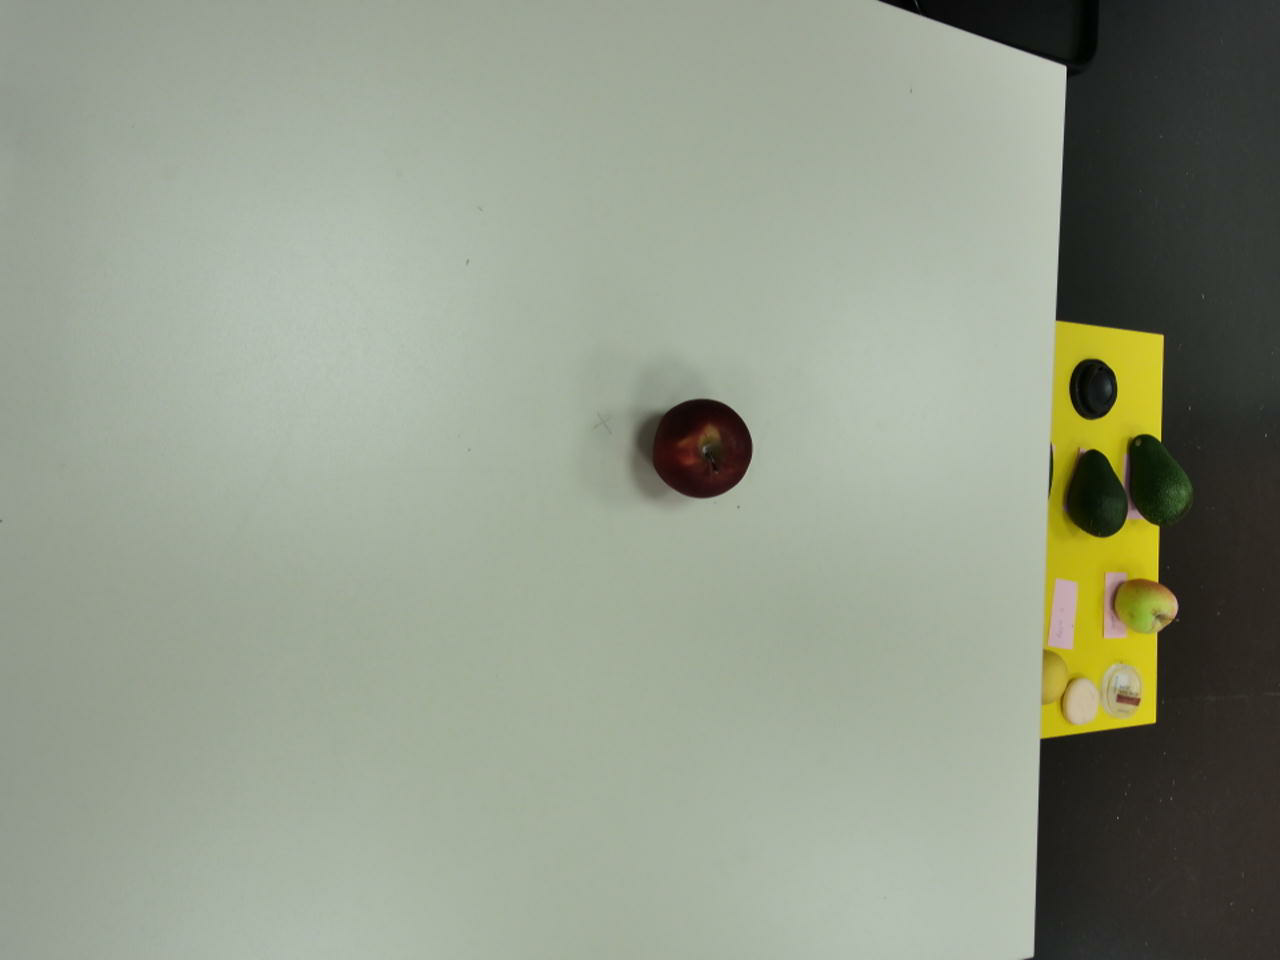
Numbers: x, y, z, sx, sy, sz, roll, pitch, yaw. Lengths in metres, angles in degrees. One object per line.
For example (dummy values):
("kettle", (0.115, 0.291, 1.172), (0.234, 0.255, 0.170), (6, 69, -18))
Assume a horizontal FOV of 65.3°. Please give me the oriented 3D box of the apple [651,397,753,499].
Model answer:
("apple", (0.043, -0.021, 0.695), (0.070, 0.072, 0.070), (0, 90, -28))
